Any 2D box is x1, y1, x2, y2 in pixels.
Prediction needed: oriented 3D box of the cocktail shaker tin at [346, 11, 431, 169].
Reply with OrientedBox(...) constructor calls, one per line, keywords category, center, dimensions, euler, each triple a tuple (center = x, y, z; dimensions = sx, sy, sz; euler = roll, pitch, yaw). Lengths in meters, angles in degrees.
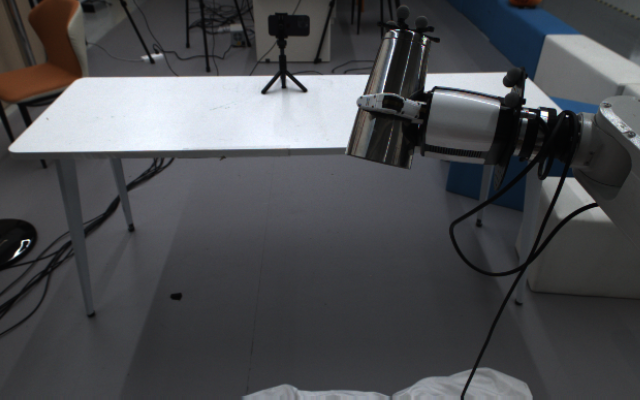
OrientedBox(category="cocktail shaker tin", center=(0.099, -0.135, 0.656), dimensions=(0.093, 0.170, 0.093), euler=(13, 4, -1))
